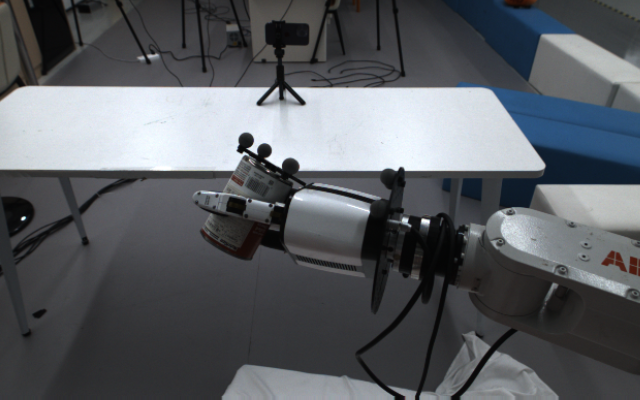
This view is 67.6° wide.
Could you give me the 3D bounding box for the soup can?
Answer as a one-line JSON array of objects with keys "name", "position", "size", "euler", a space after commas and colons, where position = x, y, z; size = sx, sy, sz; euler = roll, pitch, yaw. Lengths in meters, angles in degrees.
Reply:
[{"name": "soup can", "position": [-0.082, 0.009, 0.554], "size": [0.067, 0.101, 0.067], "euler": [30, 2, -1]}]
